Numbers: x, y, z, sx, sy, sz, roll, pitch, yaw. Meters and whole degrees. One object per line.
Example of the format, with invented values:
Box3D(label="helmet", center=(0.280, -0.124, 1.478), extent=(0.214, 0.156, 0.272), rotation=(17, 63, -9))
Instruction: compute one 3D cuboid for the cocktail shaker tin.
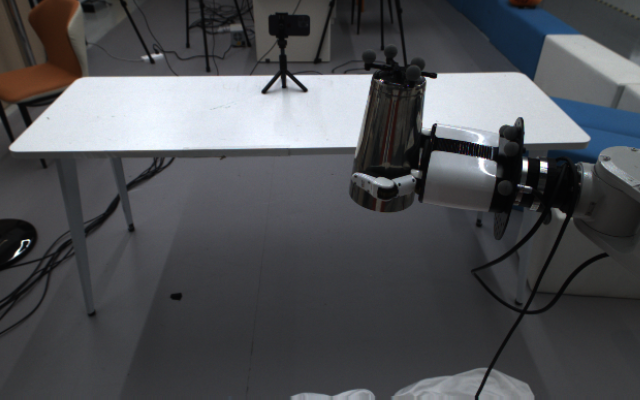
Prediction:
Box3D(label="cocktail shaker tin", center=(0.092, -0.080, 0.635), extent=(0.093, 0.170, 0.093), rotation=(3, 34, -2))
